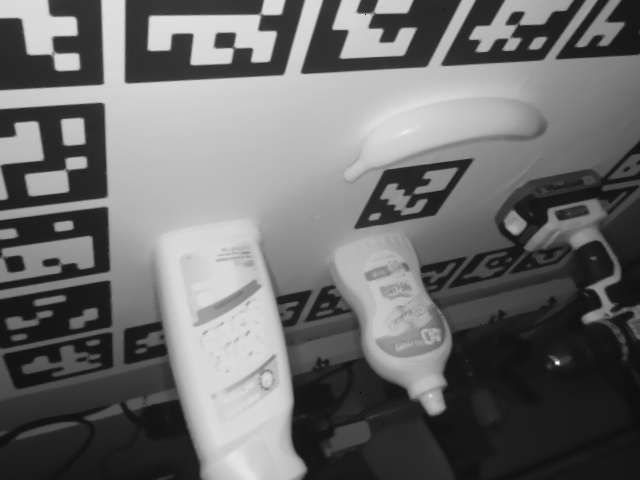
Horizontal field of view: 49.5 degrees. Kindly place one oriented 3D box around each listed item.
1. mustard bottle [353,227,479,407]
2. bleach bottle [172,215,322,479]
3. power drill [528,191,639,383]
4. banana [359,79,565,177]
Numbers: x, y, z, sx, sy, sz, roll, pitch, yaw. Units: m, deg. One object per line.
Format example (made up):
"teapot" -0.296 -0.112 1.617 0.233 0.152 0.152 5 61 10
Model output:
"mustard bottle" 0.107 0.078 0.706 0.097 0.192 0.058 -12 147 -12
"bleach bottle" -0.050 0.096 0.572 0.104 0.251 0.067 -4 144 -26
"power drill" 0.301 0.045 0.722 0.187 0.187 0.057 -16 148 -18
"banana" 0.127 -0.100 0.578 0.199 0.039 0.073 -15 146 -18
